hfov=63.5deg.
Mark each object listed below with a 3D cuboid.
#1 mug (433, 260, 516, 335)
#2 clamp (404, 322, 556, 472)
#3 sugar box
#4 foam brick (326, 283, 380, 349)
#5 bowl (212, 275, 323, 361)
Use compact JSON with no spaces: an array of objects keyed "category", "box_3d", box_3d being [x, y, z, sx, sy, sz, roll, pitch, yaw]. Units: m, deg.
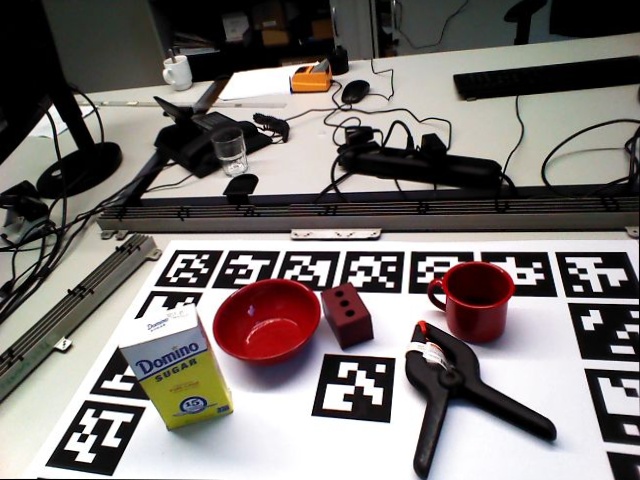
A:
[{"category":"mug","box_3d":[0.213,0.073,0.719,0.118,0.082,0.092,21,49,30]},{"category":"clamp","box_3d":[0.163,0.169,0.644,0.165,0.037,0.202,-17,40,-3]},{"category":"sugar box","box_3d":[-0.176,0.162,0.641,0.093,0.177,0.045,-16,41,-7]},{"category":"foam brick","box_3d":[0.047,0.109,0.756,0.053,0.051,0.078,-19,40,-7]},{"category":"bowl","box_3d":[-0.072,0.122,0.759,0.162,0.055,0.161,-7,39,5]}]
